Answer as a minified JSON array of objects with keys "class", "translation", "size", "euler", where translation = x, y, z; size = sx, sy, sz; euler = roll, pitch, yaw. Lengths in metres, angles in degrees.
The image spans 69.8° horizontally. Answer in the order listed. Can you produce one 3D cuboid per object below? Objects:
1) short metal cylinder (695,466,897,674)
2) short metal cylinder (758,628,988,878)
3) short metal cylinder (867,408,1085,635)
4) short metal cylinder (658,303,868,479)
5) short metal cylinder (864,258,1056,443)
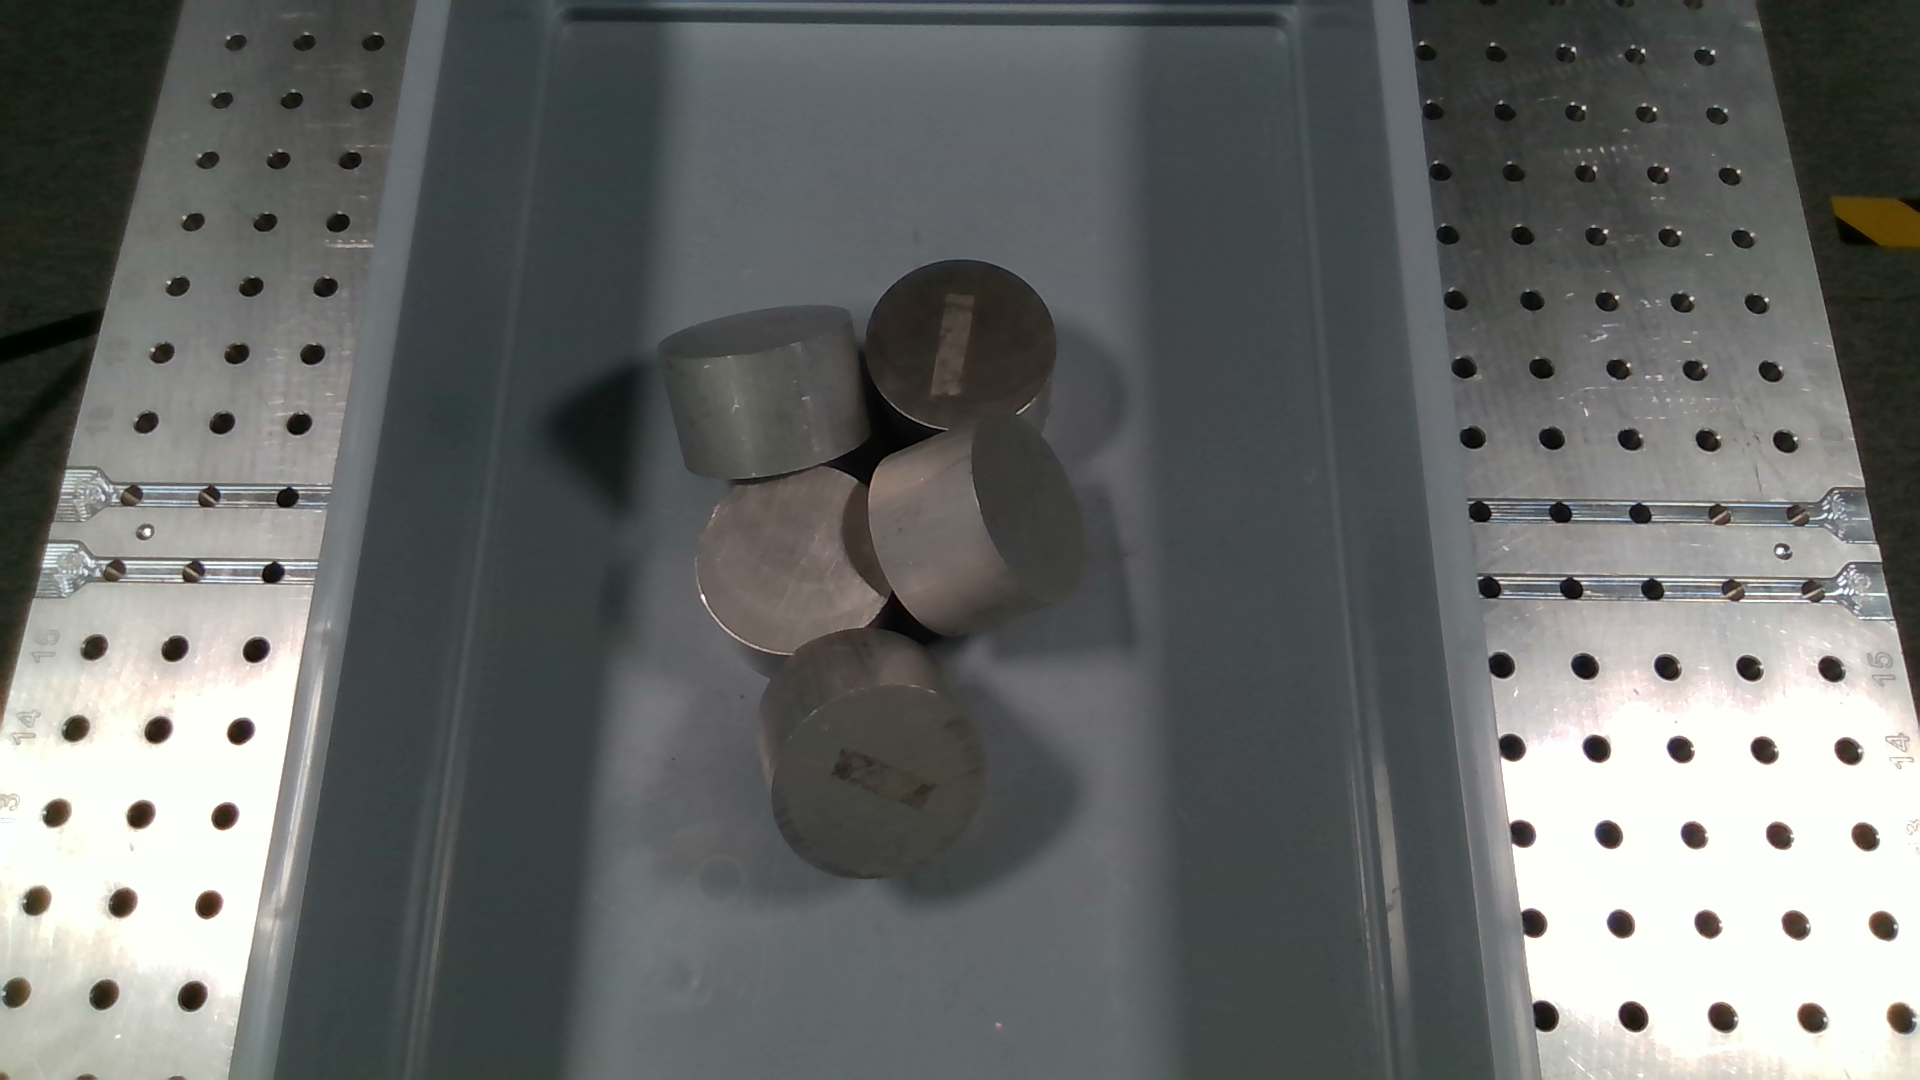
[{"class":"short metal cylinder","translation":[-0.065,0.015,0.568],"size":[0.080,0.050,0.080],"euler":[0,70,0]},{"class":"short metal cylinder","translation":[-0.035,0.080,0.523],"size":[0.080,0.050,0.080],"euler":[-5,111,-13]},{"class":"short metal cylinder","translation":[0.008,-0.007,0.552],"size":[0.050,0.080,0.080],"euler":[-21,67,30]},{"class":"short metal cylinder","translation":[-0.080,-0.063,0.573],"size":[0.080,0.080,0.050],"euler":[-11,112,-4]},{"class":"short metal cylinder","translation":[0.000,-0.075,0.599],"size":[0.080,0.050,0.080],"euler":[0,70,0]}]
